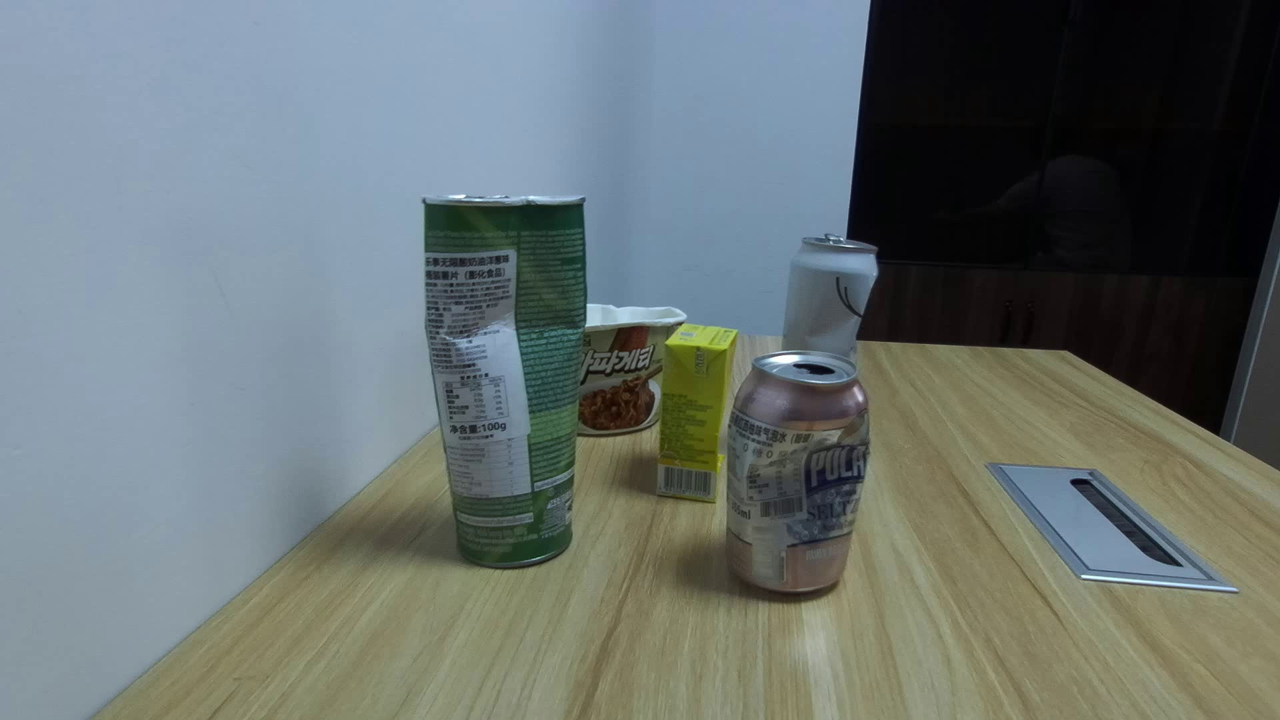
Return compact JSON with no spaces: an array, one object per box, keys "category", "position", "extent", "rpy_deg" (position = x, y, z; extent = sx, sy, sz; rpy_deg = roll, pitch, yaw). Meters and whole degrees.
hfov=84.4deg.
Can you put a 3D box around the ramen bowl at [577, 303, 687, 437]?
[{"category":"ramen bowl","position":[-0.022,0.003,0.621],"extent":[0.134,0.097,0.113],"rpy_deg":[0,16,-7]}]

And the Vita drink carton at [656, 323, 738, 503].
[{"category":"Vita drink carton","position":[0.042,0.033,0.495],"extent":[0.043,0.109,0.076],"rpy_deg":[6,17,15]}]

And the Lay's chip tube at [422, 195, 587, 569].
[{"category":"Lay's chip tube","position":[-0.071,0.012,0.398],"extent":[0.069,0.199,0.075],"rpy_deg":[5,16,12]}]

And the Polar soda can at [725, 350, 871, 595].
[{"category":"Polar soda can","position":[0.085,0.061,0.381],"extent":[0.074,0.122,0.067],"rpy_deg":[5,17,12]}]

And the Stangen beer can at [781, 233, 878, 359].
[{"category":"Stangen beer can","position":[0.143,-0.006,0.531],"extent":[0.070,0.173,0.069],"rpy_deg":[-7,17,-32]}]
